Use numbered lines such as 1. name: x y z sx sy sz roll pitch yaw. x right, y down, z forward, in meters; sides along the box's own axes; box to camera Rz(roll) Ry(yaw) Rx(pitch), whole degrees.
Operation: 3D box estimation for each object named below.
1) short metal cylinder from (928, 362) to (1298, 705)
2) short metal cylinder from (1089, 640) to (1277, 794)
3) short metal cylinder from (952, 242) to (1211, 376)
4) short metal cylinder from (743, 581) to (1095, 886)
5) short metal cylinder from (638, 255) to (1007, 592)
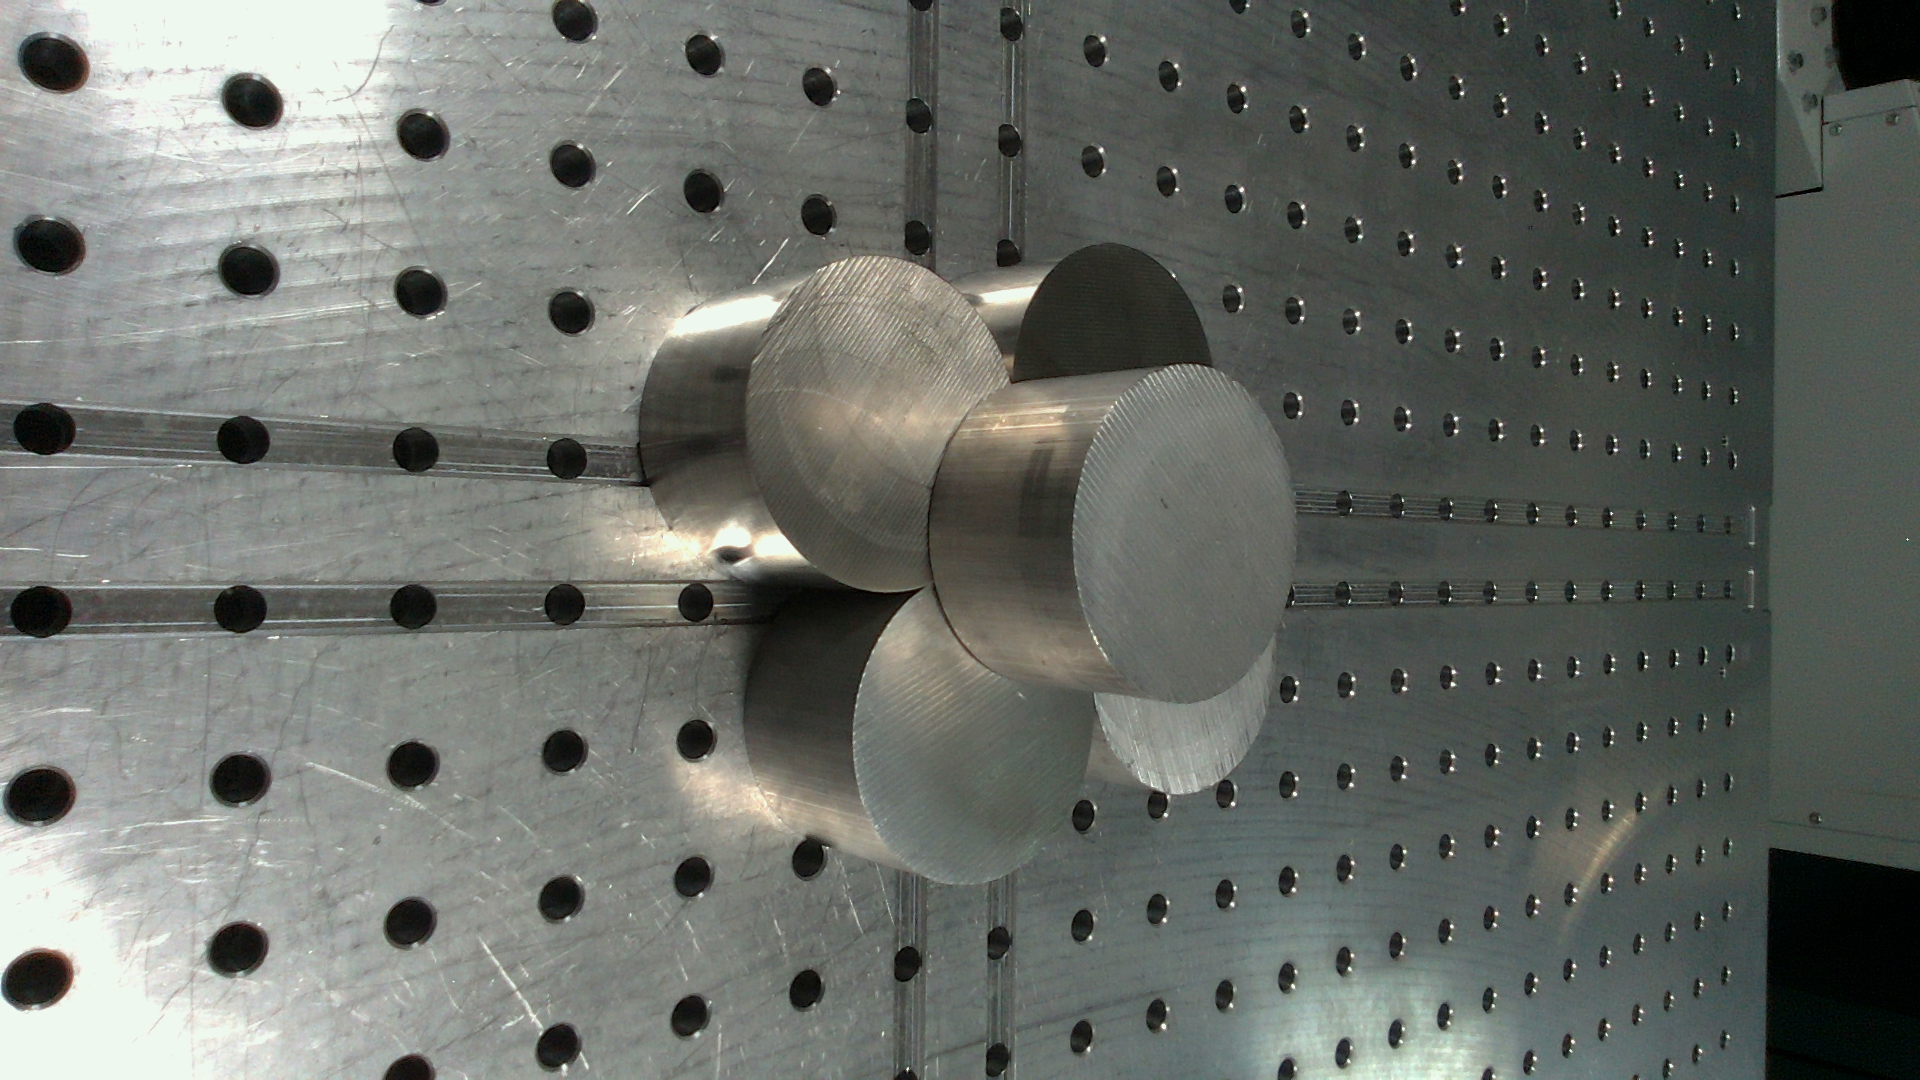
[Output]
1. short metal cylinder: 0.039 -0.002 0.341 0.080 0.050 0.080 -2 92 -41
2. short metal cylinder: 0.051 0.033 0.417 0.080 0.050 0.080 0 90 -40
3. short metal cylinder: 0.028 -0.042 0.398 0.080 0.050 0.080 0 90 -40
4. short metal cylinder: -0.010 0.047 0.366 0.080 0.050 0.080 0 90 -40
5. short metal cylinder: -0.033 -0.028 0.347 0.080 0.050 0.080 0 90 -40
